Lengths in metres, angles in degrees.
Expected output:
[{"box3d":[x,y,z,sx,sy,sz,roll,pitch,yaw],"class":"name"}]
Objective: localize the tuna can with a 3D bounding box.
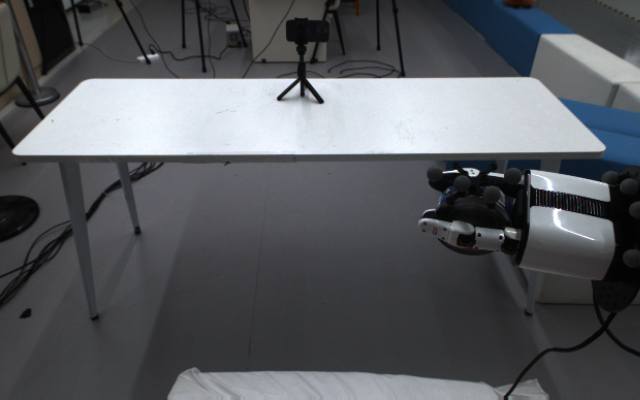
[{"box3d":[0.176,0.019,0.554,0.085,0.085,0.034,12,39,14],"class":"tuna can"}]
